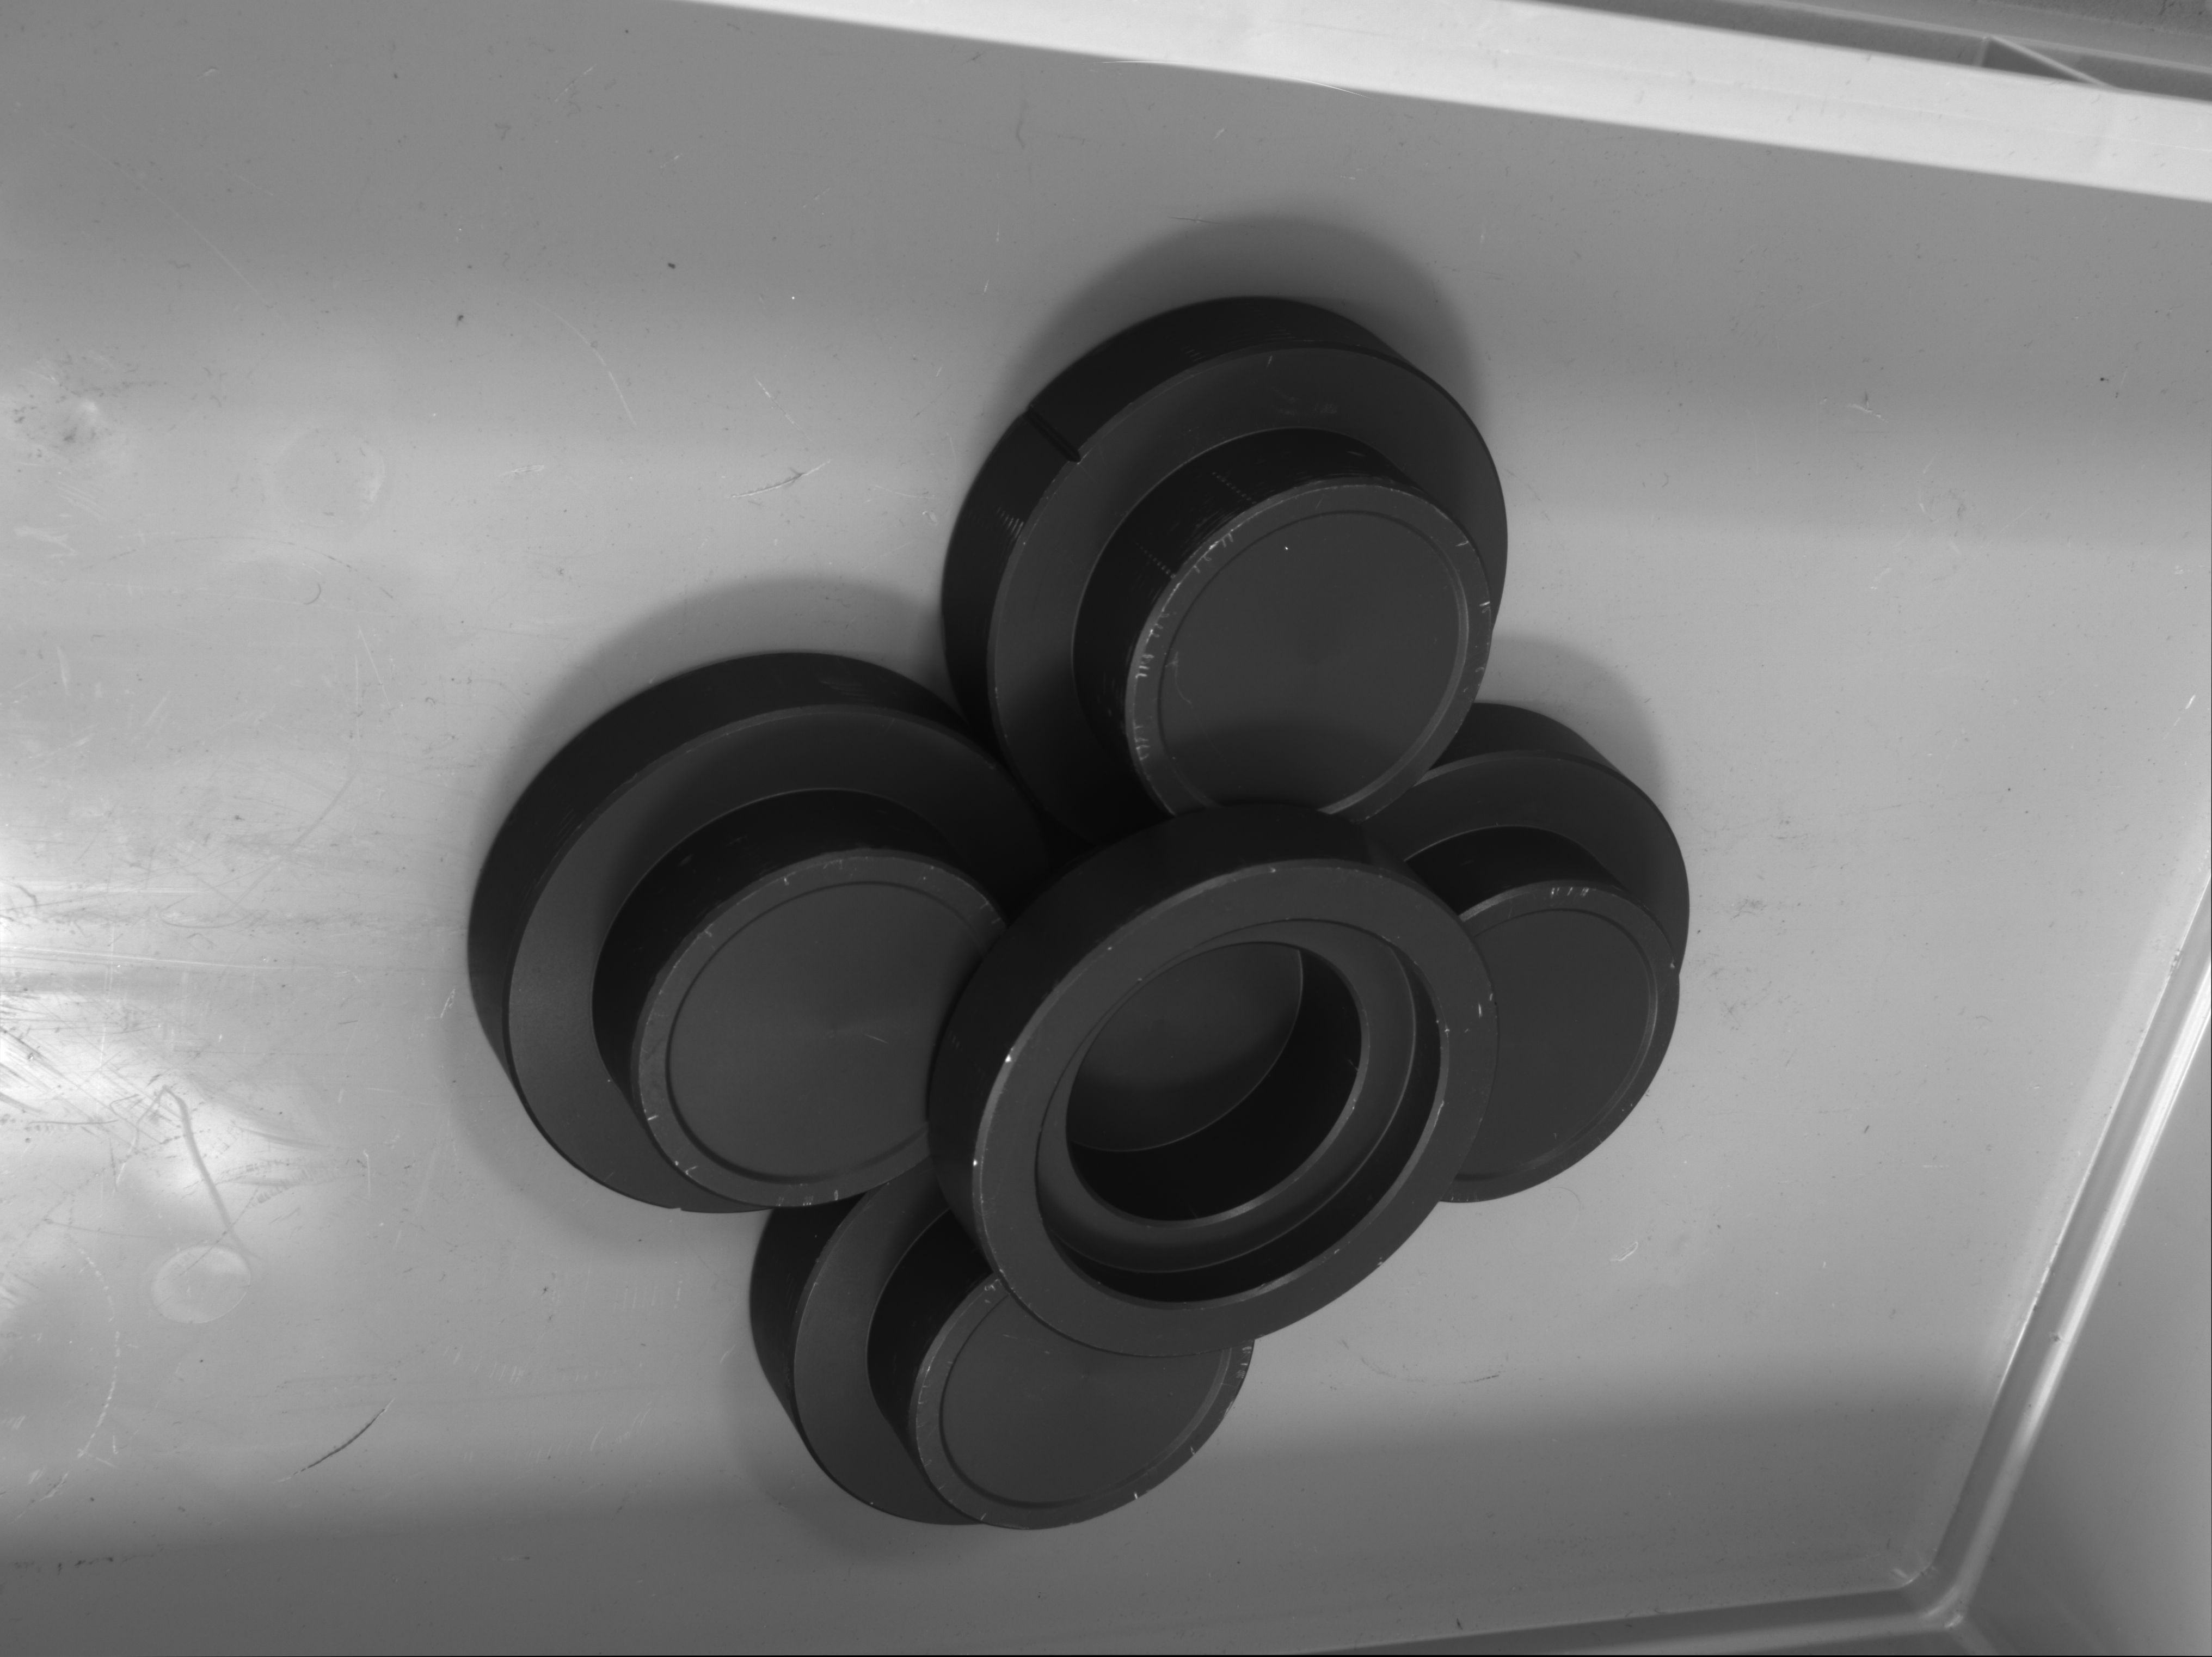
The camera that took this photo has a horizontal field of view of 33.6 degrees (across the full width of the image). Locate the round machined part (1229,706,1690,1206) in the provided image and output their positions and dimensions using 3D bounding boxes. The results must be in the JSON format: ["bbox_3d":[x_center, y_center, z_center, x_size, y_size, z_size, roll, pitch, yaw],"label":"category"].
[{"bbox_3d":[0.066,0.030,0.678,0.098,0.042,0.098,-14,124,-21],"label":"round machined part"}]

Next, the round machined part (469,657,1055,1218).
[{"bbox_3d":[-0.053,0.024,0.610,0.098,0.042,0.098,-14,124,-21],"label":"round machined part"}]

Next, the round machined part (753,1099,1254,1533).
[{"bbox_3d":[-0.012,0.089,0.672,0.098,0.042,0.098,-14,122,-22],"label":"round machined part"}]

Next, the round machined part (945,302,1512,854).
[{"bbox_3d":[0.026,-0.035,0.616,0.098,0.042,0.098,-14,124,-21],"label":"round machined part"}]

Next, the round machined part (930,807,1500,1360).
[{"bbox_3d":[0.015,0.039,0.629,0.098,0.042,0.098,-14,124,-21],"label":"round machined part"}]
